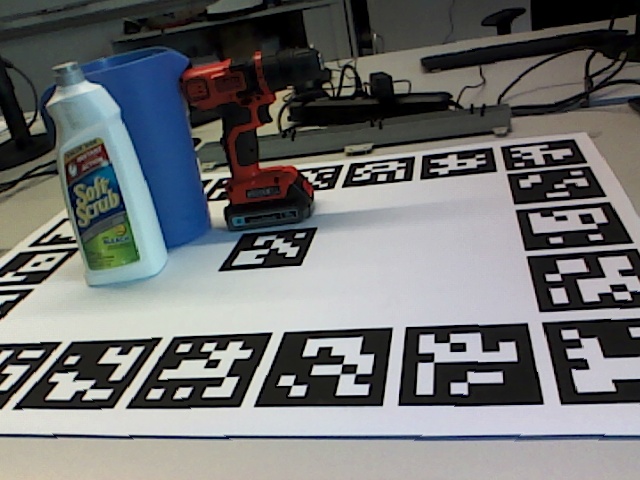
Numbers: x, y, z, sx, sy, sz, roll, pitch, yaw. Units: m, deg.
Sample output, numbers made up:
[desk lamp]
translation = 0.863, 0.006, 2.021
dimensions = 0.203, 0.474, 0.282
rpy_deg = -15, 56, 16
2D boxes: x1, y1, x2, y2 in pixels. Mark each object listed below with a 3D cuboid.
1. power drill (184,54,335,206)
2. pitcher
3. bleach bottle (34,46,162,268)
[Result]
[power drill]
translation = -0.067, -0.138, 0.779
dimensions = 0.185, 0.186, 0.057
rpy_deg = -2, 31, 8
[pitcher]
translation = -0.233, -0.125, 0.805
dimensions = 0.188, 0.241, 0.134
rpy_deg = -17, 29, -8
[bleach bottle]
translation = -0.268, -0.092, 0.712
dimensions = 0.103, 0.250, 0.068
rpy_deg = -9, 27, 9
